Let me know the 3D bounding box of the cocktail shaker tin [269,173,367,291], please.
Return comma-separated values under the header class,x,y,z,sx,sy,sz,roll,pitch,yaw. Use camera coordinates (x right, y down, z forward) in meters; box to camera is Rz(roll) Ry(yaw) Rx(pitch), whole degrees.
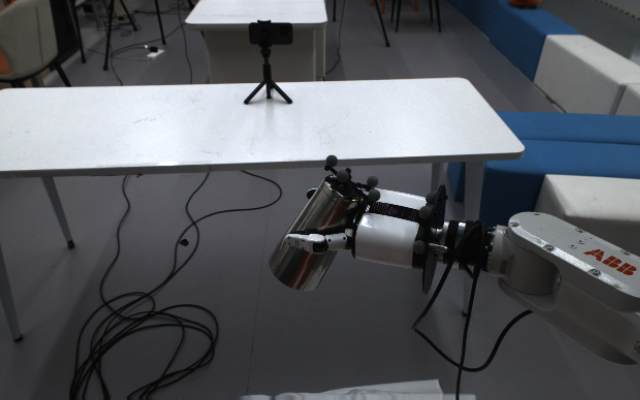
class,x,y,z,sx,sy,sz,roll,pitch,yaw
cocktail shaker tin,-0.001,0.043,0.740,0.093,0.170,0.093,25,29,-15
